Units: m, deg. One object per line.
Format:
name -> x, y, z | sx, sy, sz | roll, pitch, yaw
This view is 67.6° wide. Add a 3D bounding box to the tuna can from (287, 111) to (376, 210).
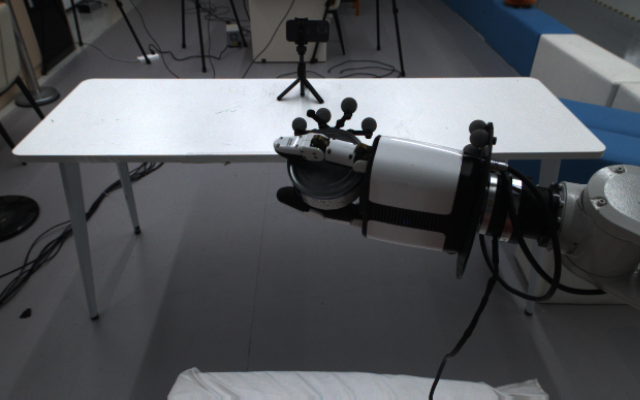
tuna can -> 0.010, -0.034, 0.525 | 0.085, 0.034, 0.085 | -4, 61, 7
